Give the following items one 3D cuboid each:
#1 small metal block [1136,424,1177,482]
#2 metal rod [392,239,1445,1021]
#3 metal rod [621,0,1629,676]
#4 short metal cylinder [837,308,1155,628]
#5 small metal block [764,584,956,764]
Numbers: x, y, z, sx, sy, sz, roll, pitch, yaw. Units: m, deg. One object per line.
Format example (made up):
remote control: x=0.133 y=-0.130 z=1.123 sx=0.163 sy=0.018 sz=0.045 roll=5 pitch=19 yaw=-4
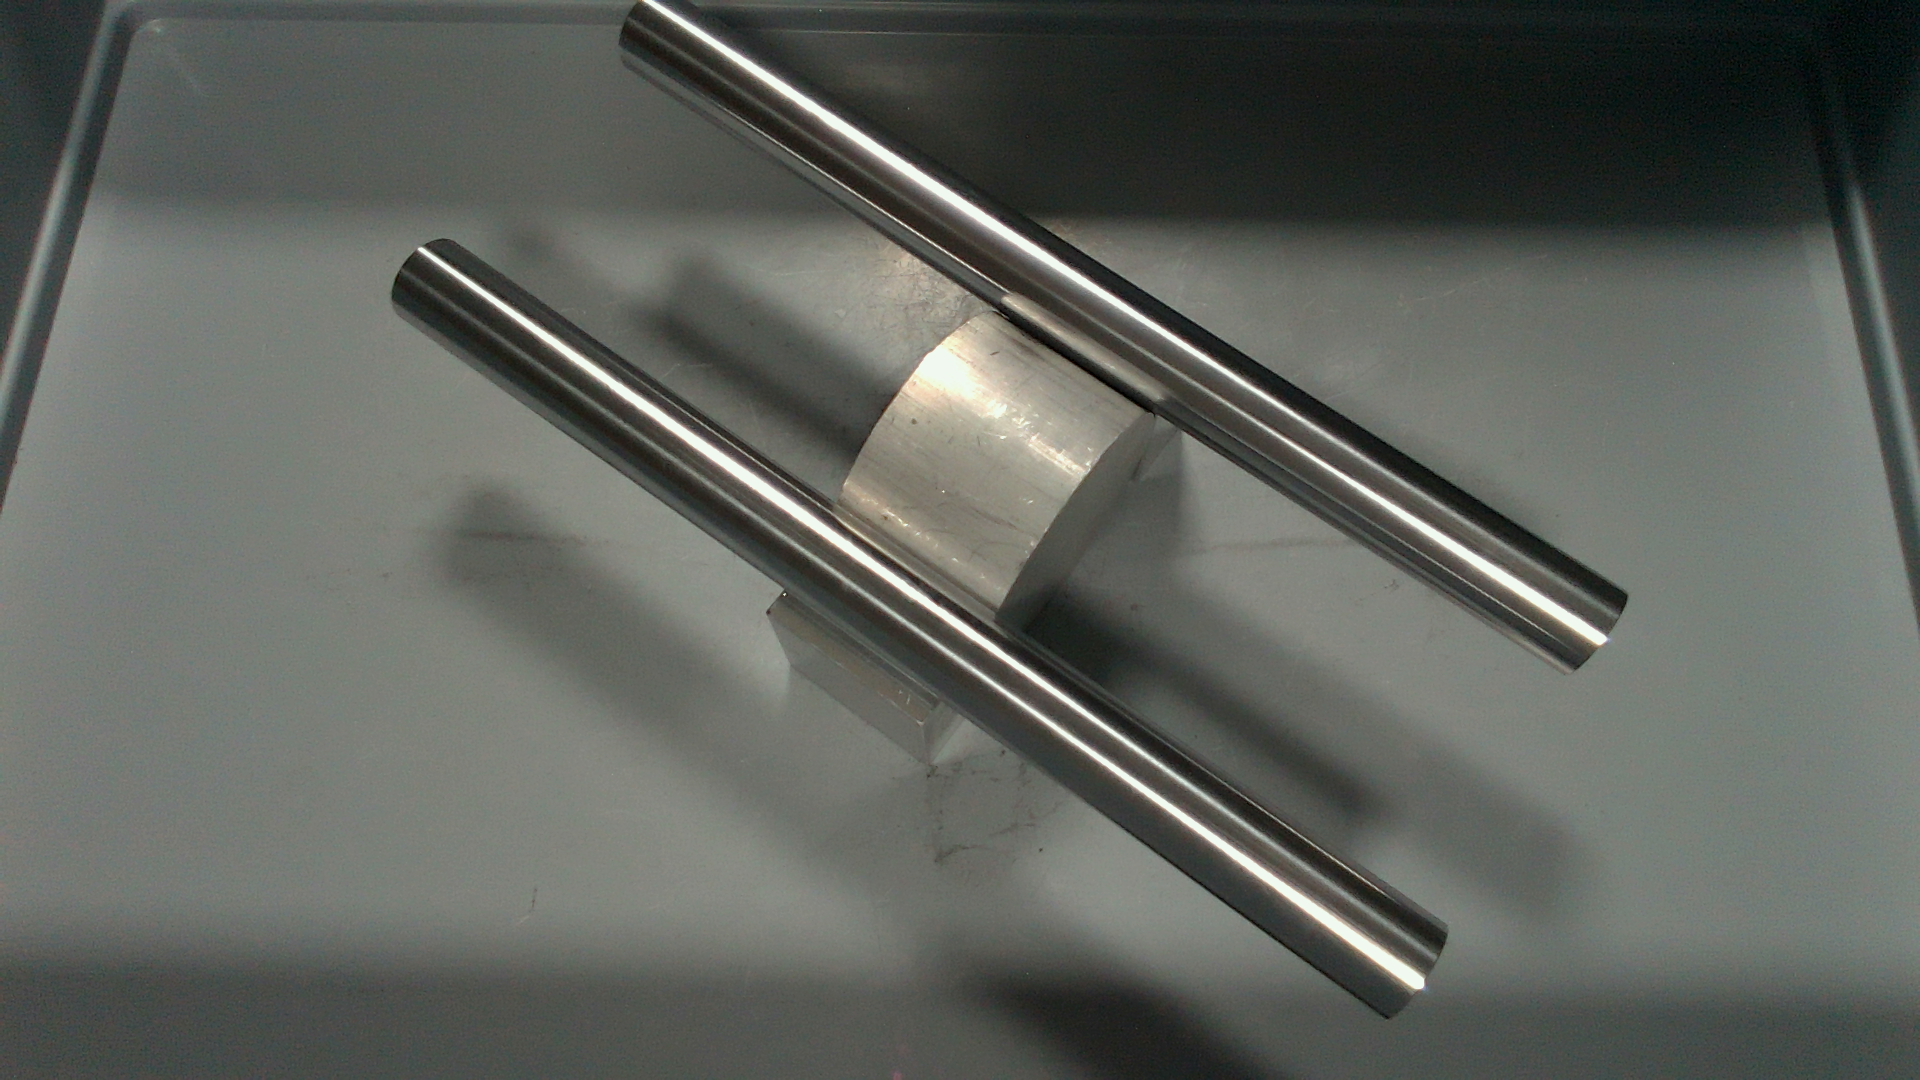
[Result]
small metal block: x=0.041 y=-0.049 z=0.398 sx=0.050 sy=0.050 sz=0.025 roll=35 pitch=74 yaw=12
metal rod: x=-0.021 y=0.014 z=0.337 sx=0.300 sy=0.025 sz=0.025 roll=34 pitch=74 yaw=12
metal rod: x=0.033 y=-0.061 z=0.363 sx=0.300 sy=0.025 sz=0.025 roll=35 pitch=74 yaw=12
short metal cylinder: x=0.009 y=-0.015 z=0.370 sx=0.050 sy=0.080 sz=0.080 roll=35 pitch=74 yaw=12
small metal block: x=-0.022 y=0.031 z=0.368 sx=0.050 sy=0.050 sz=0.025 roll=35 pitch=74 yaw=12
